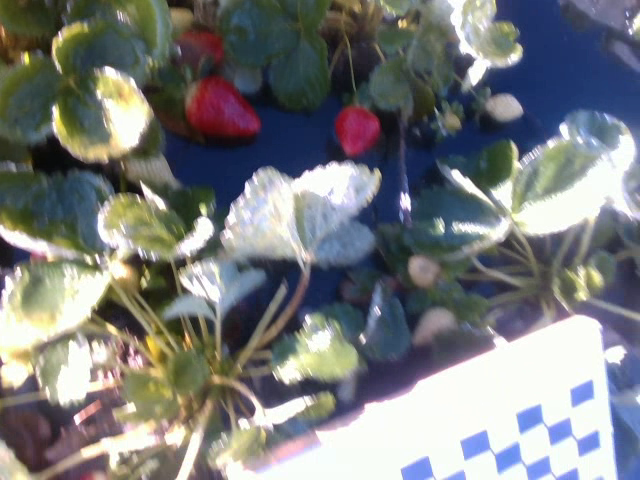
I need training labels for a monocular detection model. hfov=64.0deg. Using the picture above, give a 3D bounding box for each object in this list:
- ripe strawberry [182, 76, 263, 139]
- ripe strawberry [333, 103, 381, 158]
[{"bbox_3d":[-0.063,-0.095,0.365,0.056,0.044,0.040,32,-6,-16],"label":"ripe strawberry"},{"bbox_3d":[0.030,-0.082,0.379,0.039,0.047,0.040,20,-14,-17],"label":"ripe strawberry"}]
